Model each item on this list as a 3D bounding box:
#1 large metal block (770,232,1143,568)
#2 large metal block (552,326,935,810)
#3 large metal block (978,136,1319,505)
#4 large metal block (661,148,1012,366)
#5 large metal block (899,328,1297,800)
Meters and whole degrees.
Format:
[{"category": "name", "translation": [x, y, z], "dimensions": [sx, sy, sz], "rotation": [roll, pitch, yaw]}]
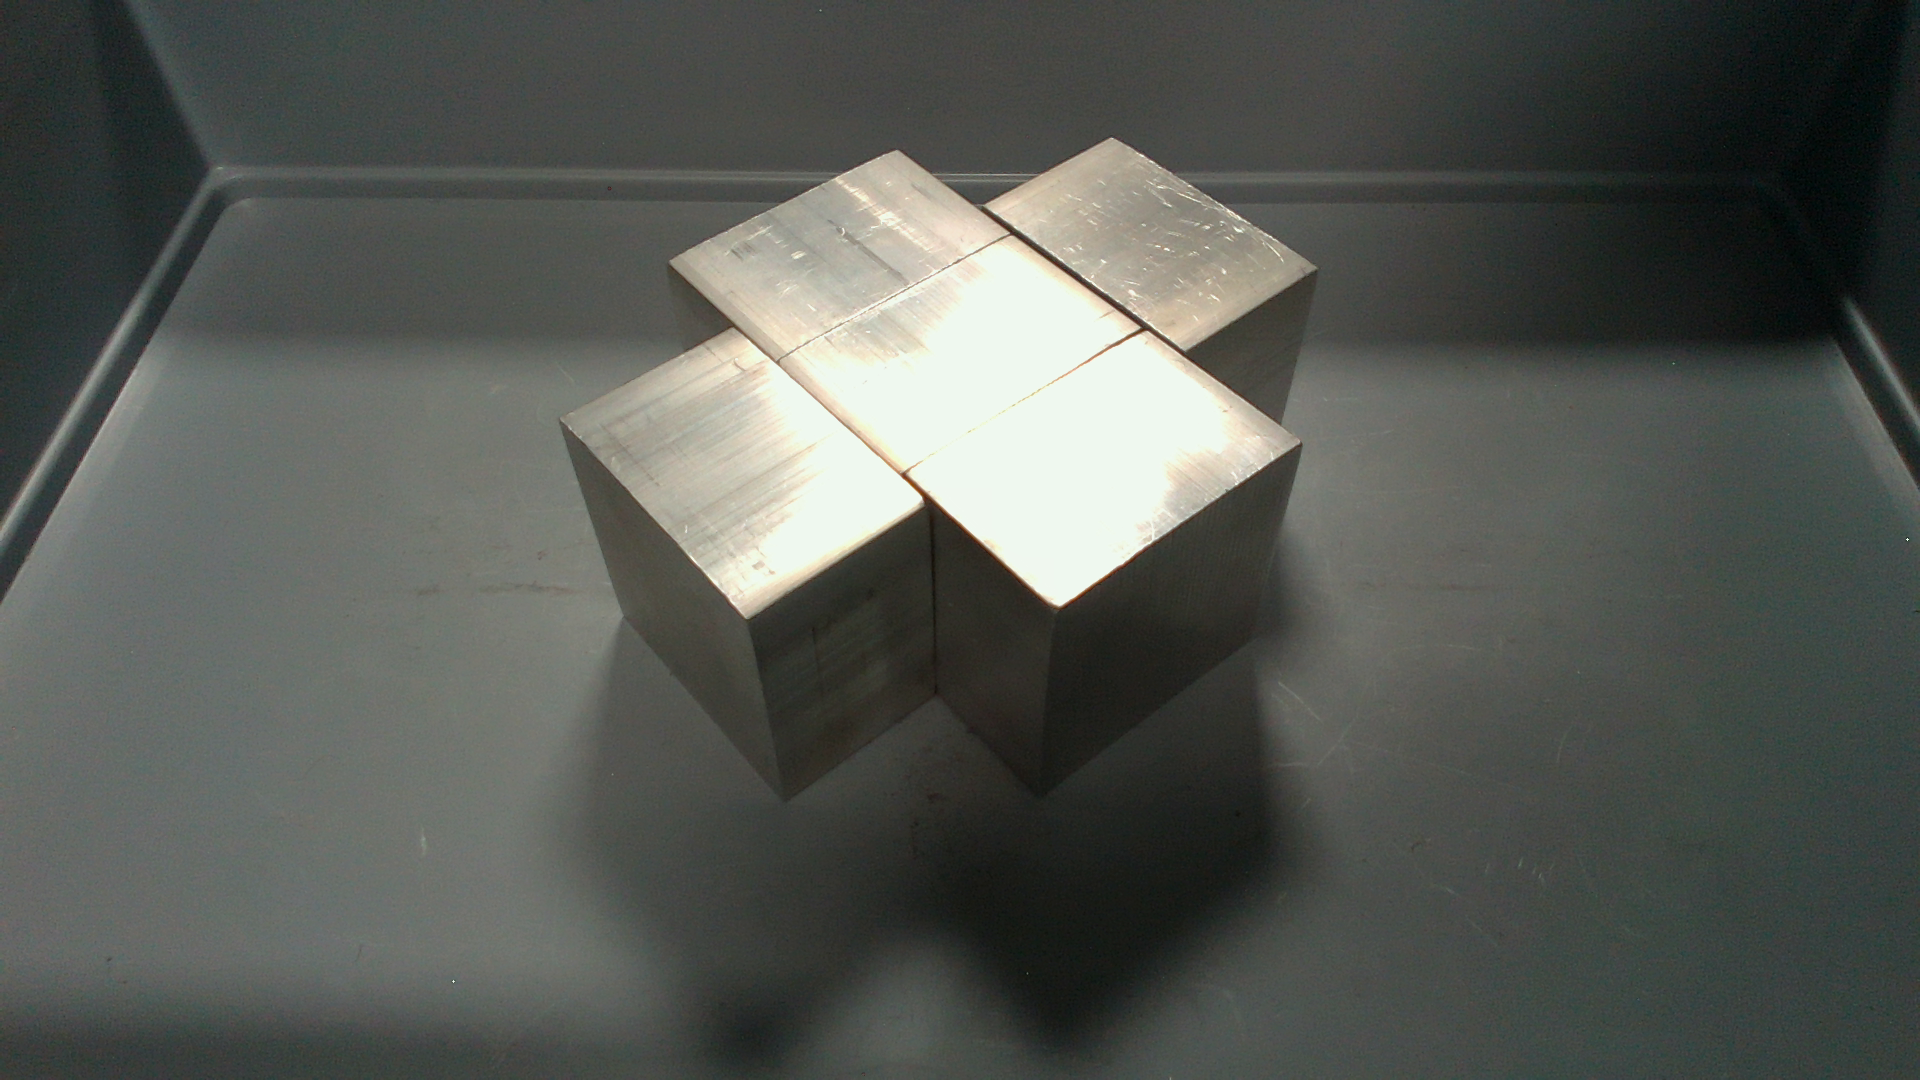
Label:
[{"category": "large metal block", "translation": [0.000, -0.023, 0.375], "dimensions": [0.080, 0.080, 0.050], "rotation": [-33, 57, -24]}, {"category": "large metal block", "translation": [-0.052, 0.007, 0.349], "dimensions": [0.050, 0.080, 0.080], "rotation": [-33, 57, -25]}, {"category": "large metal block", "translation": [0.050, -0.057, 0.403], "dimensions": [0.050, 0.080, 0.080], "rotation": [-33, 57, -25]}, {"category": "large metal block", "translation": [-0.032, -0.053, 0.399], "dimensions": [0.080, 0.080, 0.050], "rotation": [-33, 57, -24]}, {"category": "large metal block", "translation": [0.033, 0.006, 0.350], "dimensions": [0.080, 0.080, 0.050], "rotation": [-33, 57, -24]}]
